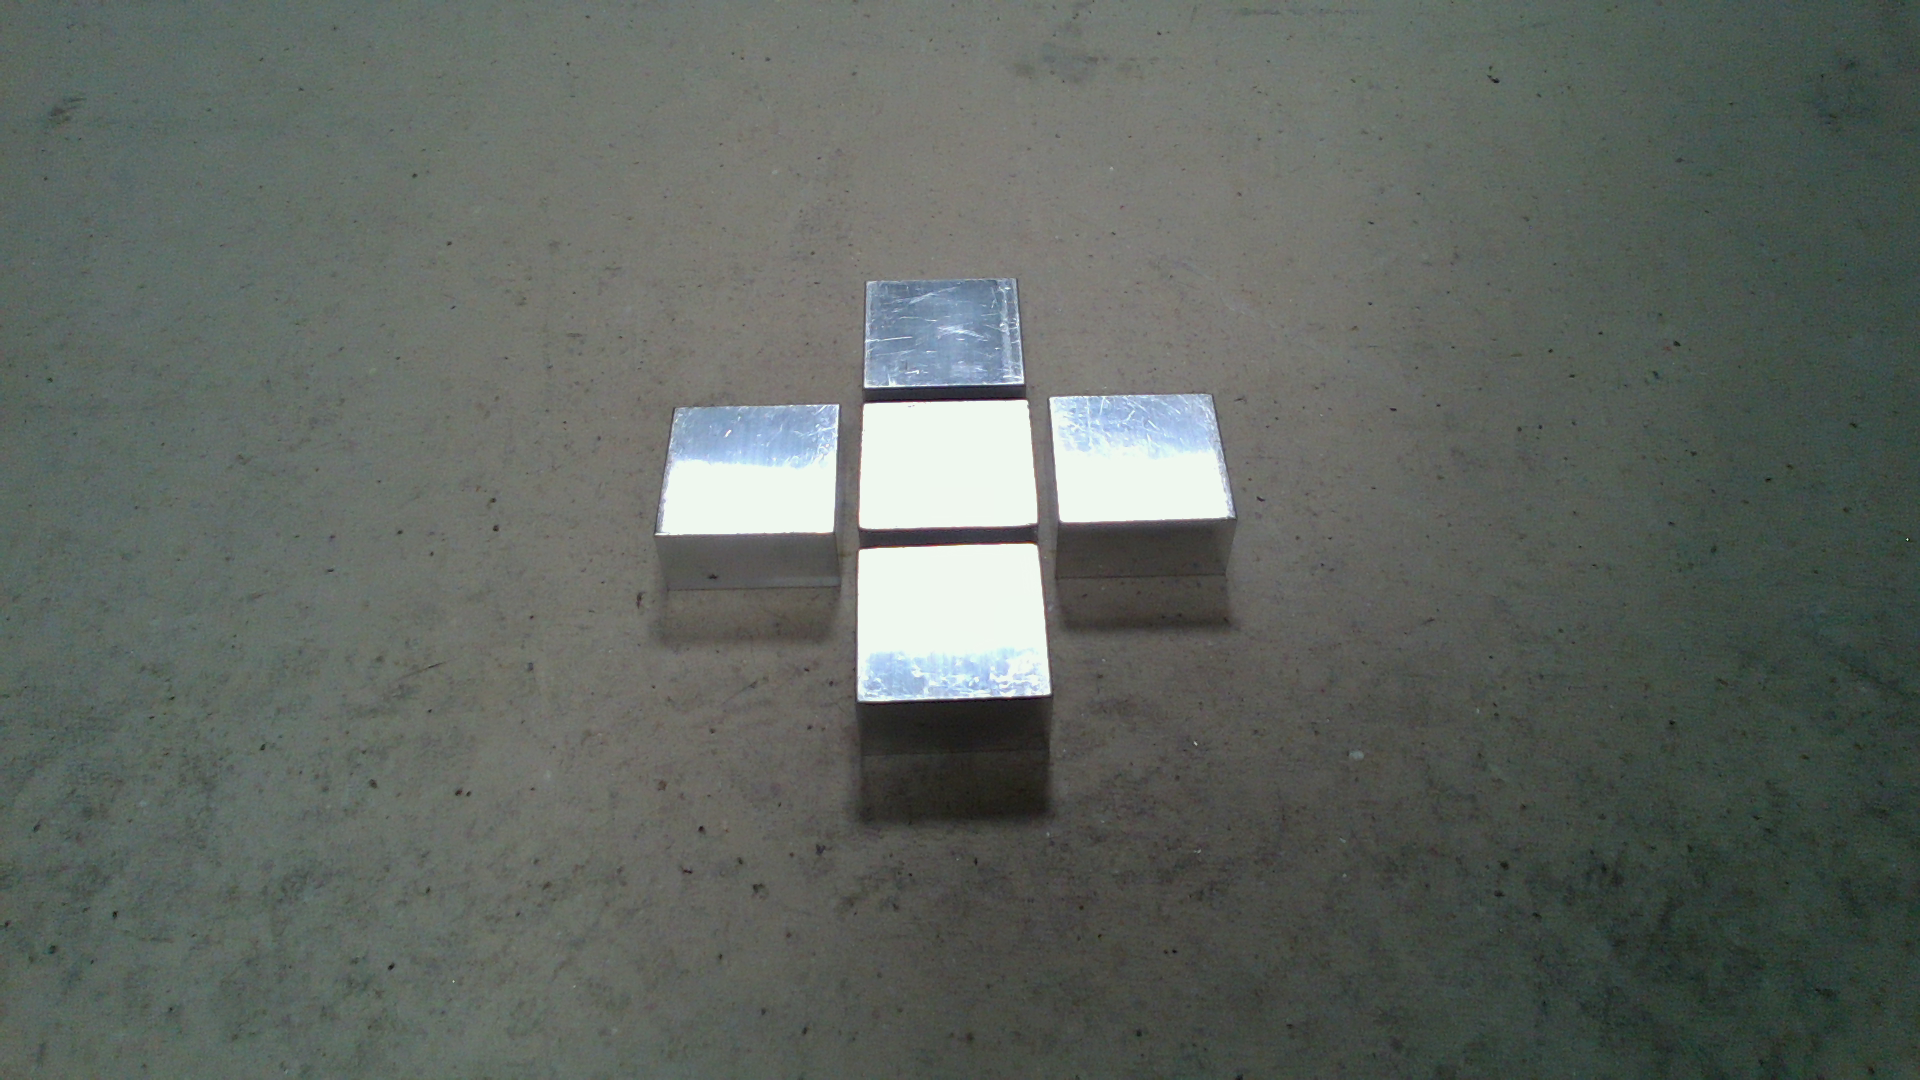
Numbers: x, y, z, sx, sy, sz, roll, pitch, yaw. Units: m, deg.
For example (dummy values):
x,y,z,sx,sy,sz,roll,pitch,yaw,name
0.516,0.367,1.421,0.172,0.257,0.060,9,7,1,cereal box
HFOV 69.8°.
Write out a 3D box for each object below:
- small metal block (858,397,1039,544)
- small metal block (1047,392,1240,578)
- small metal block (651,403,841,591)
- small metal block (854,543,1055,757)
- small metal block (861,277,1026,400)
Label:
x,y,z,sx,sy,sz,roll,pitch,yaw,name
-0.004,-0.015,0.405,0.050,0.025,0.050,-1,50,-1,small metal block
0.052,-0.017,0.406,0.050,0.025,0.050,-1,50,-1,small metal block
-0.060,-0.013,0.403,0.050,0.025,0.050,-1,50,-1,small metal block
-0.002,0.029,0.368,0.050,0.025,0.050,-2,50,-1,small metal block
-0.006,-0.058,0.441,0.050,0.025,0.050,-1,50,-1,small metal block
